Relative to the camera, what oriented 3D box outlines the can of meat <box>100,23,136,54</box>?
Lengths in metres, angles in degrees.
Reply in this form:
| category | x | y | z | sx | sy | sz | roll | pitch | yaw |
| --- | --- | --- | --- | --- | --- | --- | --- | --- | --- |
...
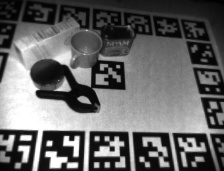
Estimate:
| category | x | y | z | sx | sy | sz | roll | pitch | yaw |
| --- | --- | --- | --- | --- | --- | --- | --- | --- | --- |
| can of meat | 0.014 | -0.143 | 0.667 | 0.102 | 0.084 | 0.057 | -4 | 62 | -15 |

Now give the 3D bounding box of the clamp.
| category | x | y | z | sx | sy | sz | roll | pitch | yaw |
| --- | --- | --- | --- | --- | --- | --- | --- | --- | --- |
| clamp | -0.103 | 0.020 | 0.585 | 0.165 | 0.036 | 0.122 | 36 | 57 | 3 |

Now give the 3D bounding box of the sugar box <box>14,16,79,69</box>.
| category | x | y | z | sx | sy | sz | roll | pitch | yaw |
| --- | --- | --- | --- | --- | --- | --- | --- | --- | --- |
| sugar box | -0.175 | -0.123 | 0.613 | 0.178 | 0.093 | 0.045 | -33 | 71 | -26 |

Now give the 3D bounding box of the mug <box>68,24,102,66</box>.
| category | x | y | z | sx | sy | sz | roll | pitch | yaw |
| --- | --- | --- | --- | --- | --- | --- | --- | --- | --- |
| mug | -0.083 | -0.106 | 0.619 | 0.093 | 0.081 | 0.117 | 25 | 62 | 2 |

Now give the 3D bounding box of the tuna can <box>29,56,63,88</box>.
| category | x | y | z | sx | sy | sz | roll | pitch | yaw |
| --- | --- | --- | --- | --- | --- | --- | --- | --- | --- |
| tuna can | -0.180 | -0.035 | 0.592 | 0.086 | 0.034 | 0.085 | 5 | 64 | -9 |
